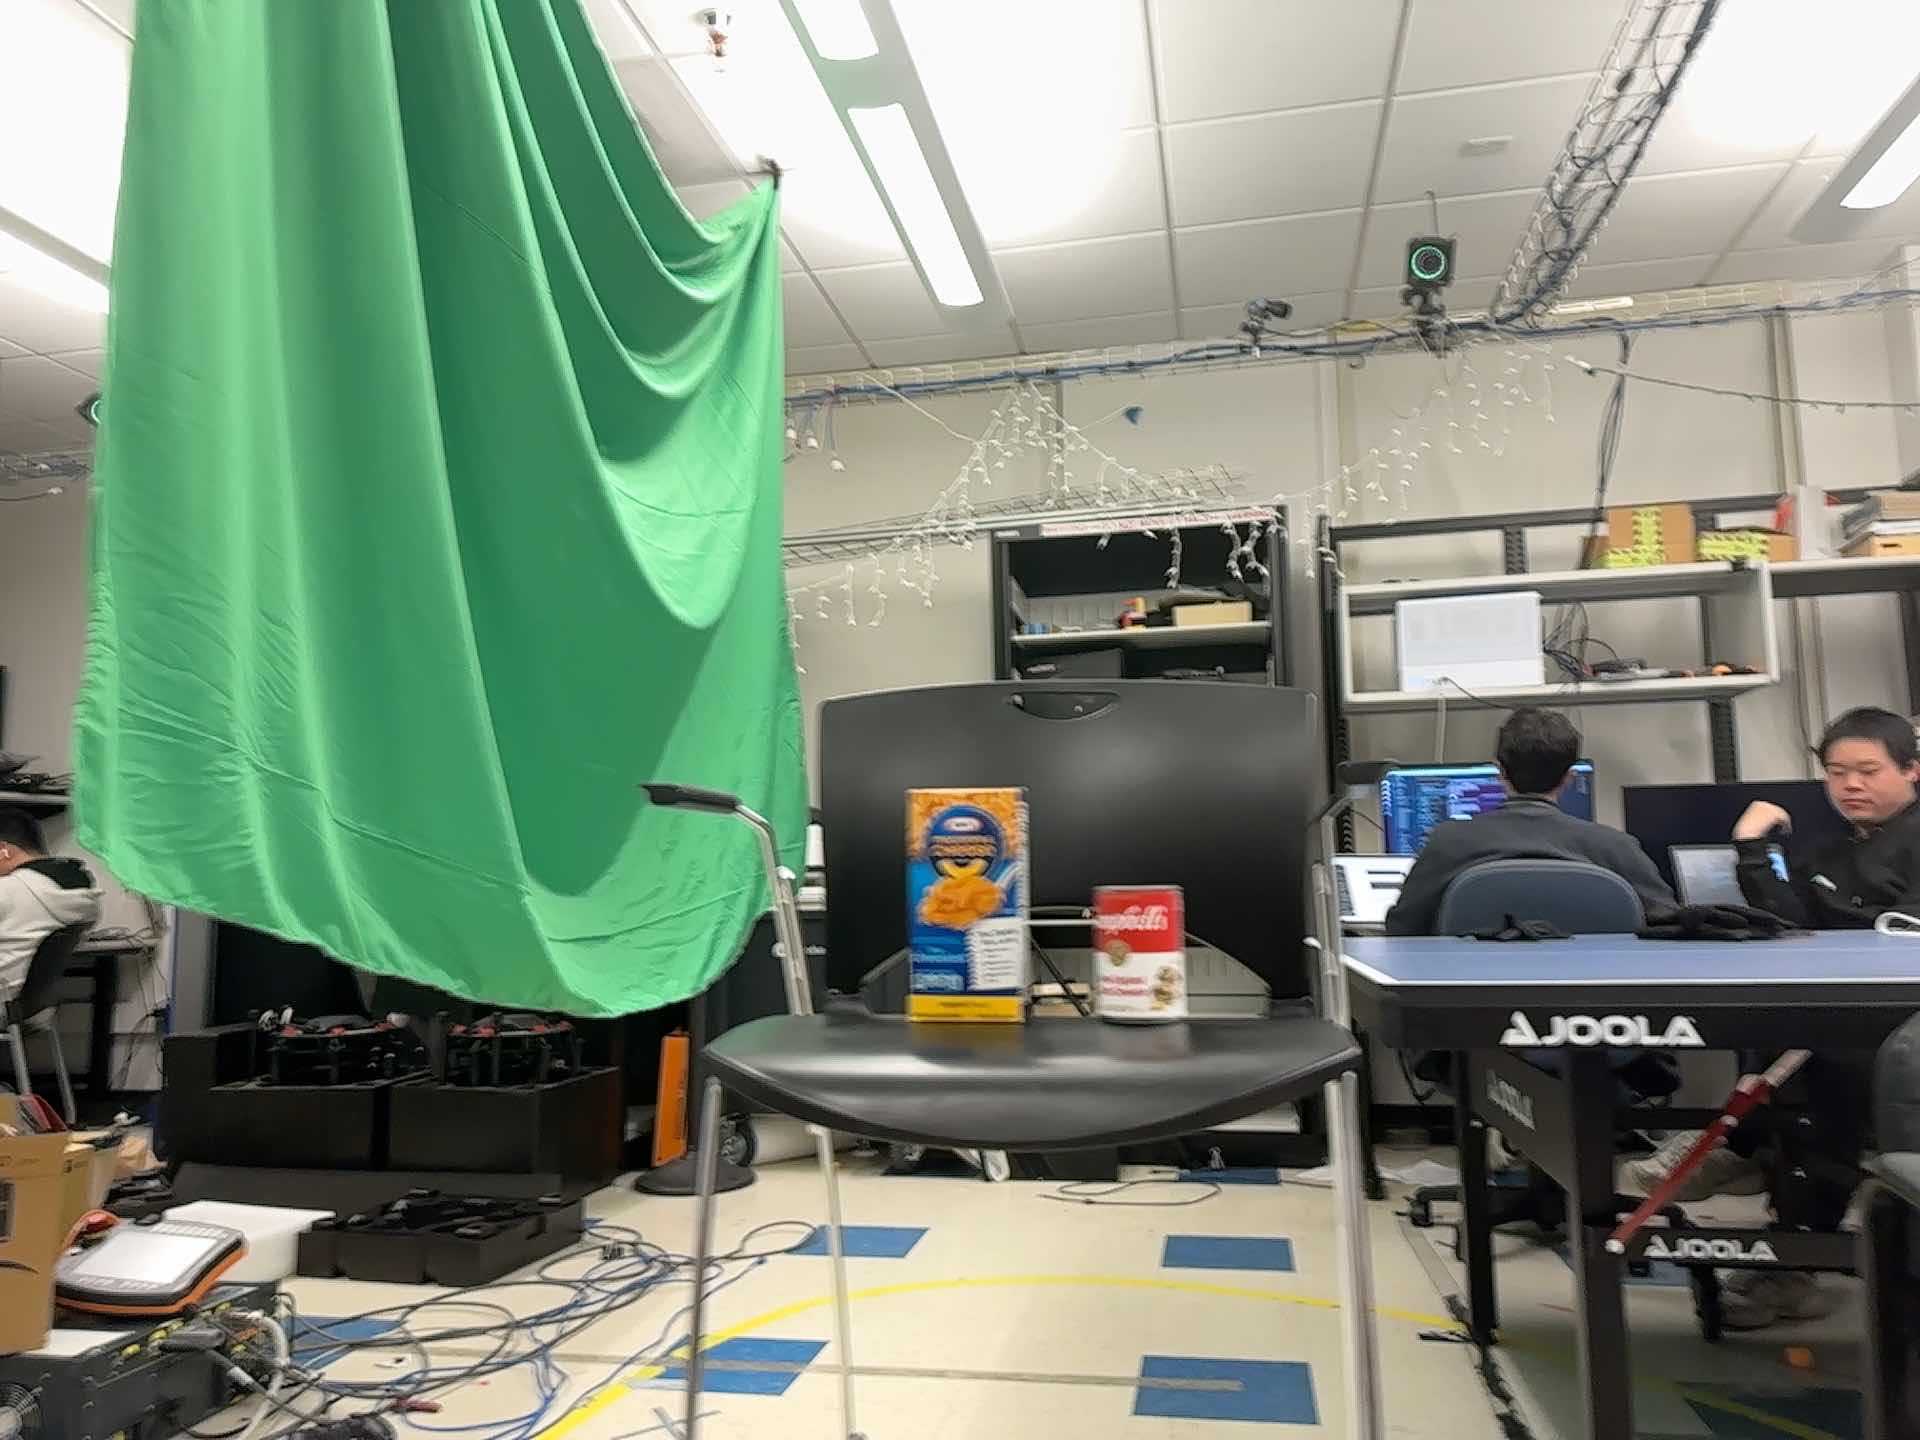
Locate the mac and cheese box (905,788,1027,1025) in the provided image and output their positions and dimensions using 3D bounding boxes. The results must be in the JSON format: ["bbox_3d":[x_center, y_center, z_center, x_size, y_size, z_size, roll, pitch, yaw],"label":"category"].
[{"bbox_3d":[0.004,0.147,1.071,0.088,0.181,0.035,-2,-6,16],"label":"mac and cheese box"}]

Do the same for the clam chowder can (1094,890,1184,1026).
[{"bbox_3d":[0.140,0.185,1.055,0.068,0.102,0.068,-1,-8,0],"label":"clam chowder can"}]
